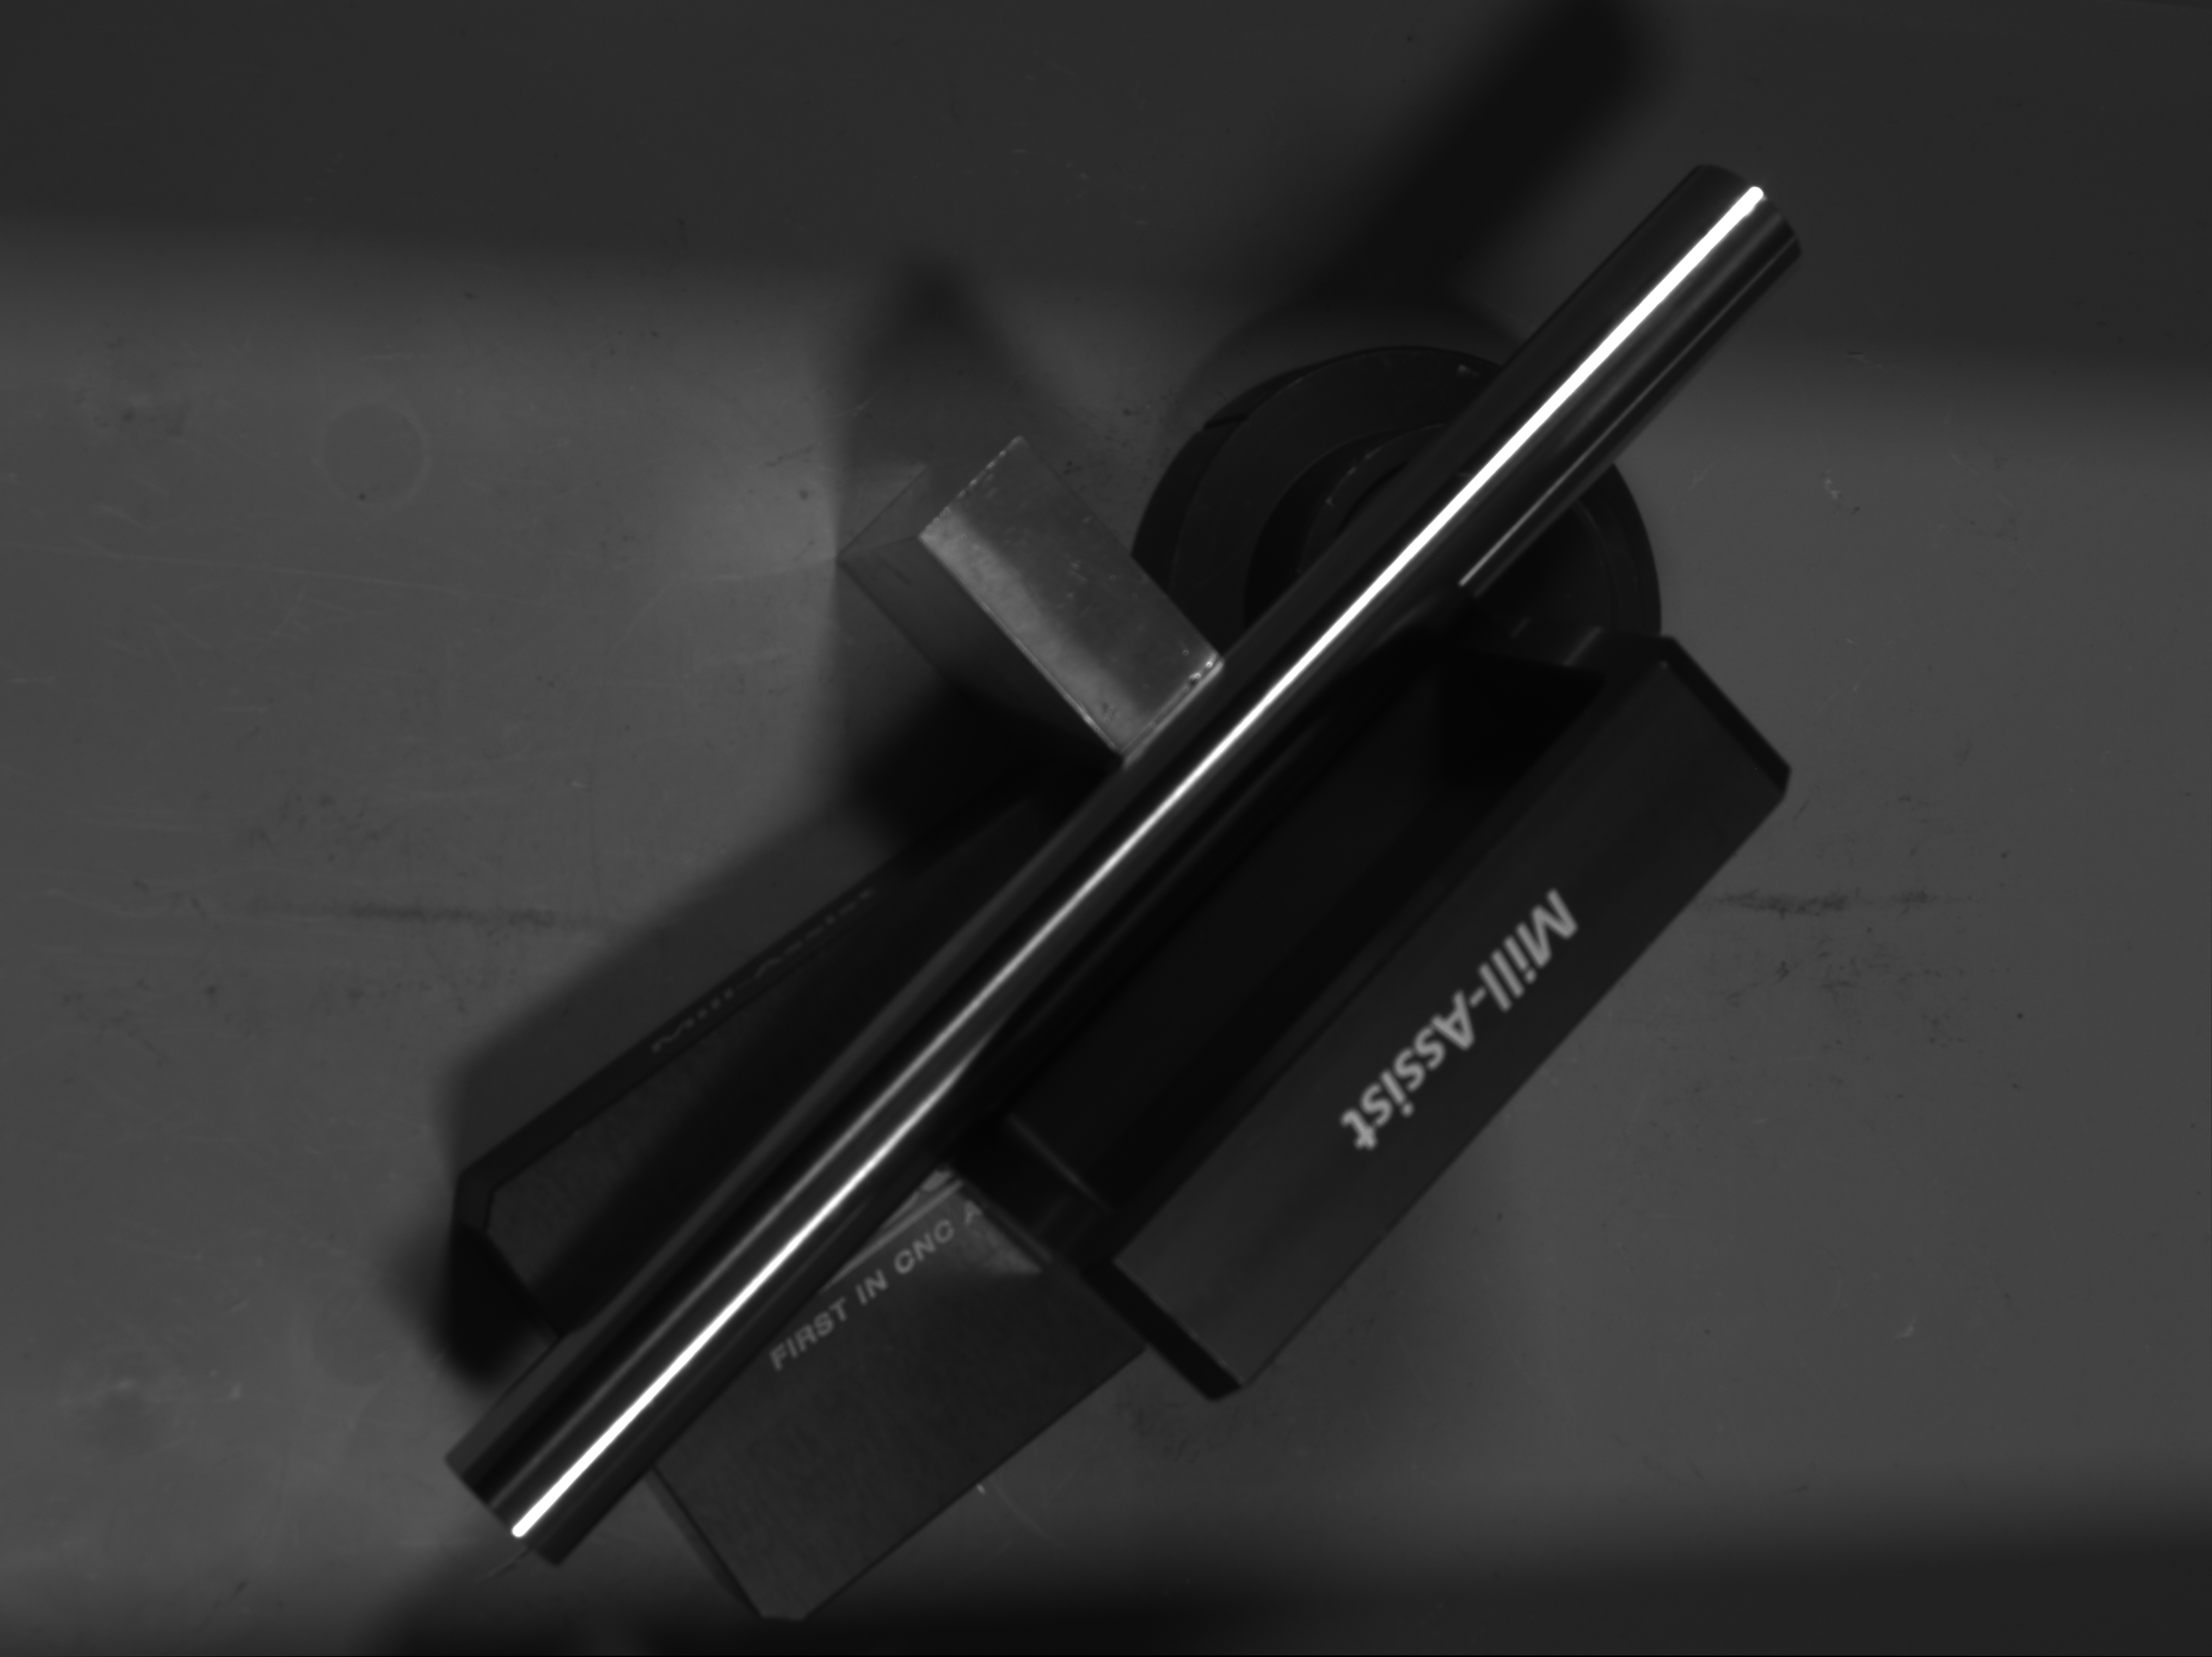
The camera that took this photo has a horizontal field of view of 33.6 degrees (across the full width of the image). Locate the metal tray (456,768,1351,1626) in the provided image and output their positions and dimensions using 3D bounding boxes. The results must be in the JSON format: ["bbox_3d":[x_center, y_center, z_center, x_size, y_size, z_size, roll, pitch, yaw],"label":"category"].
[{"bbox_3d":[-0.033,0.061,0.628,0.130,0.030,0.090,-36,102,-16],"label":"metal tray"}]

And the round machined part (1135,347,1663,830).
[{"bbox_3d":[0.056,-0.037,0.653,0.098,0.042,0.098,0,90,-20],"label":"round machined part"}]

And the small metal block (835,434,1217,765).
[{"bbox_3d":[-0.014,-0.038,0.624,0.025,0.050,0.050,-46,104,-14],"label":"small metal block"}]

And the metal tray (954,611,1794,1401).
[{"bbox_3d":[0.039,0.023,0.582,0.130,0.090,0.030,-47,107,-7],"label":"metal tray"}]

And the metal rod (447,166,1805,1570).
[{"bbox_3d":[0.008,0.002,0.604,0.300,0.025,0.025,-46,104,-10],"label":"metal rod"}]
